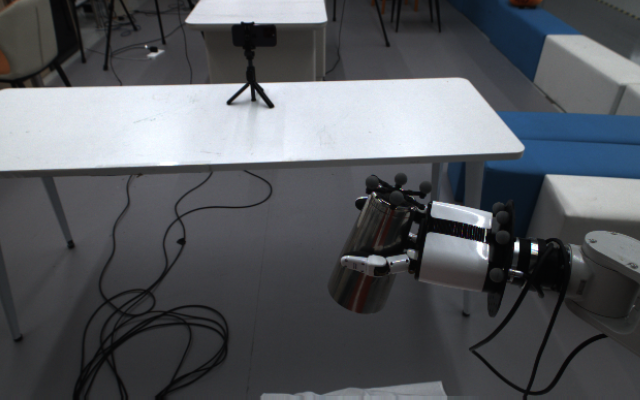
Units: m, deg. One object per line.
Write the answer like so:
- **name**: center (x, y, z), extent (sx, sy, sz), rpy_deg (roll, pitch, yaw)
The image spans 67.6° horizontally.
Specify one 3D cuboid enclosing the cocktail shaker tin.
- **cocktail shaker tin**: center (0.080, 0.065, 0.683), extent (0.093, 0.170, 0.093), rpy_deg (12, 29, -7)
